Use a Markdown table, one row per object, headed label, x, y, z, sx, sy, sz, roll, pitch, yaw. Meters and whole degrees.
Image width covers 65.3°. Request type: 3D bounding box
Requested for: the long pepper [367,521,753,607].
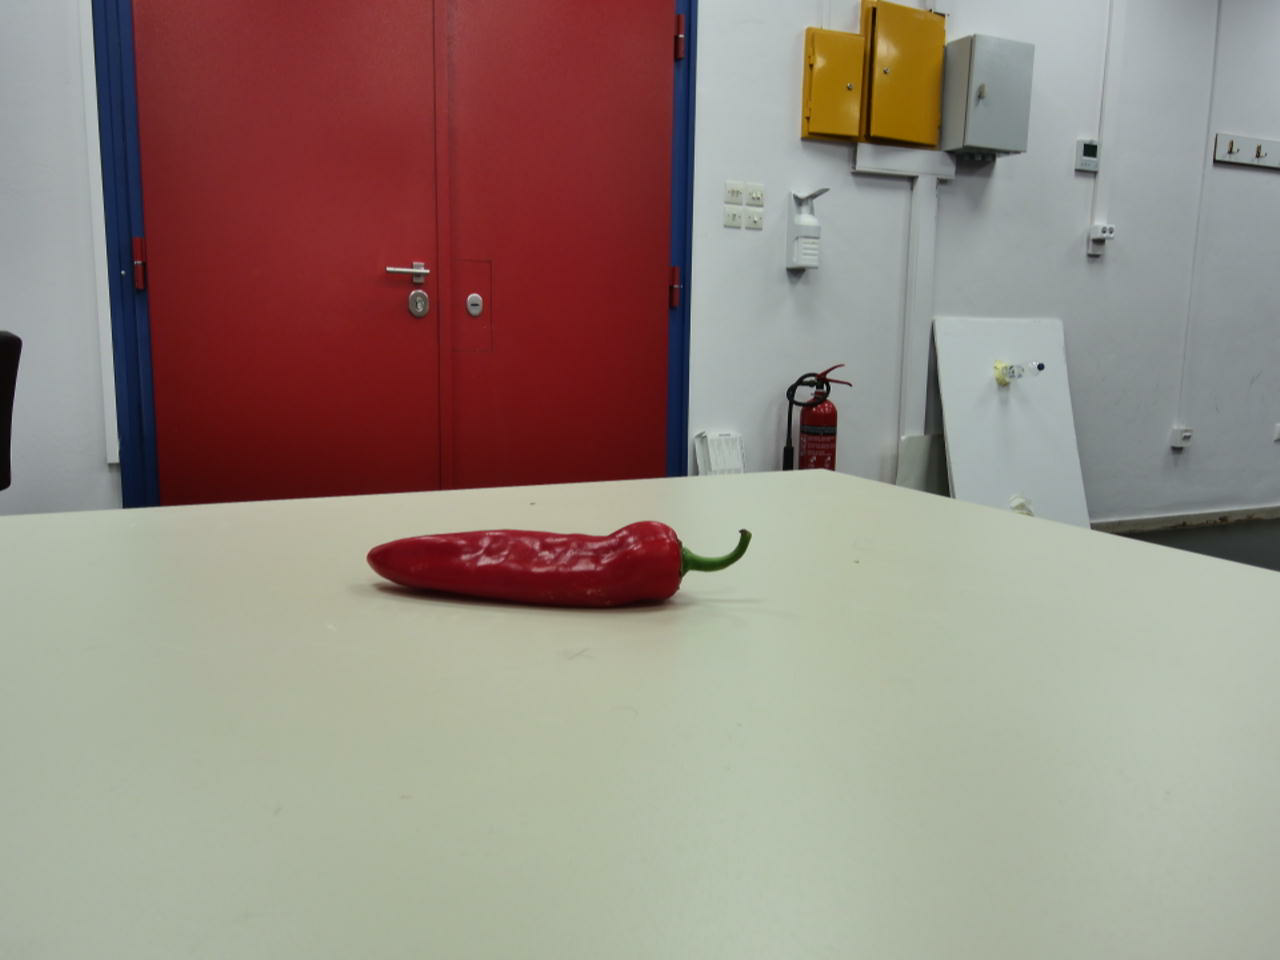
| label | x | y | z | sx | sy | sz | roll | pitch | yaw |
| --- | --- | --- | --- | --- | --- | --- | --- | --- | --- |
| long pepper | -0.047 | 0.043 | 0.533 | 0.211 | 0.043 | 0.050 | 0 | 7 | 7 |
